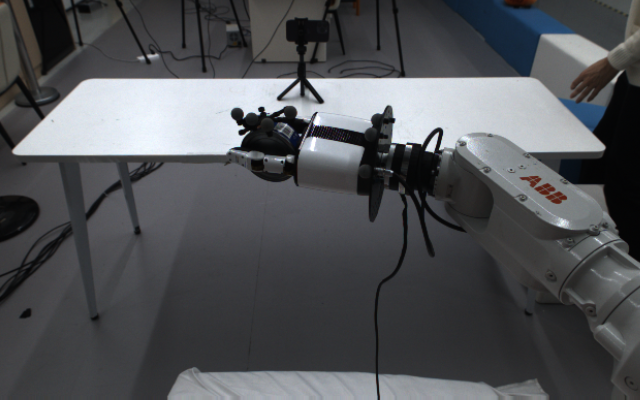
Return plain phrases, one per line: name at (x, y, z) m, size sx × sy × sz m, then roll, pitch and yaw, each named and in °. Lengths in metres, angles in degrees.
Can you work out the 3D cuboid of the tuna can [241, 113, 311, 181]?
tuna can at (-0.066, -0.070, 0.687) m, size 0.085 × 0.085 × 0.034 m, roll 11°, pitch 39°, yaw 12°
